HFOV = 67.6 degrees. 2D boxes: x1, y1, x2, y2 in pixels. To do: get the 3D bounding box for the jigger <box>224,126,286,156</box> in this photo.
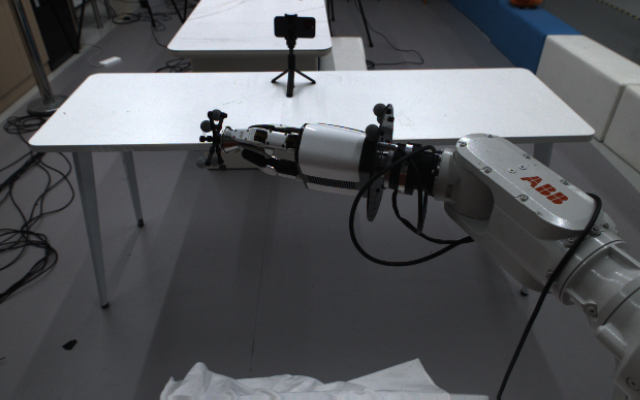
[{"bbox_3d":[-0.099,-0.087,0.700,0.071,0.043,0.043,7,35,13],"label":"jigger"}]
